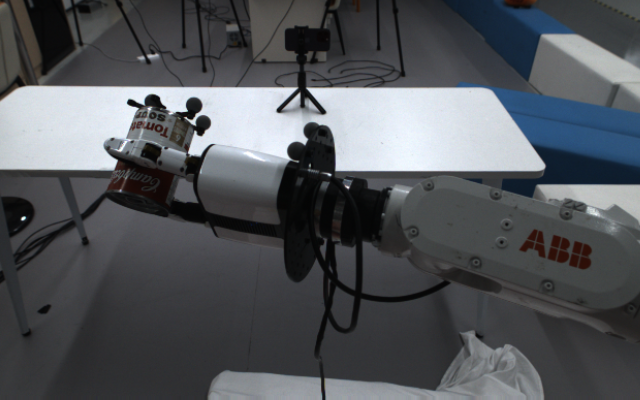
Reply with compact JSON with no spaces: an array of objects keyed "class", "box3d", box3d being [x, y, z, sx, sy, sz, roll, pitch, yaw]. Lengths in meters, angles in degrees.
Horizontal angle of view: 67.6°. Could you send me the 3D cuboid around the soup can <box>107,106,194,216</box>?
[{"class":"soup can","box3d":[-0.183,-0.041,0.532,0.067,0.067,0.101,9,72,10]}]
